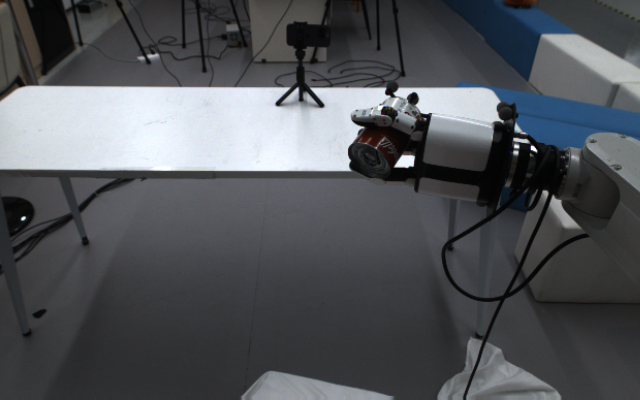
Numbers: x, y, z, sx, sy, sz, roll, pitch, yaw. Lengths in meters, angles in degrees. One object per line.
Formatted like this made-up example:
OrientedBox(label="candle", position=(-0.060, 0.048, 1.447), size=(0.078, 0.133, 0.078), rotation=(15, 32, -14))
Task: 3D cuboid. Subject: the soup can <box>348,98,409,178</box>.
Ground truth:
OrientedBox(label="soup can", position=(0.095, -0.090, 0.685), size=(0.067, 0.067, 0.101), rotation=(22, 60, 26))
